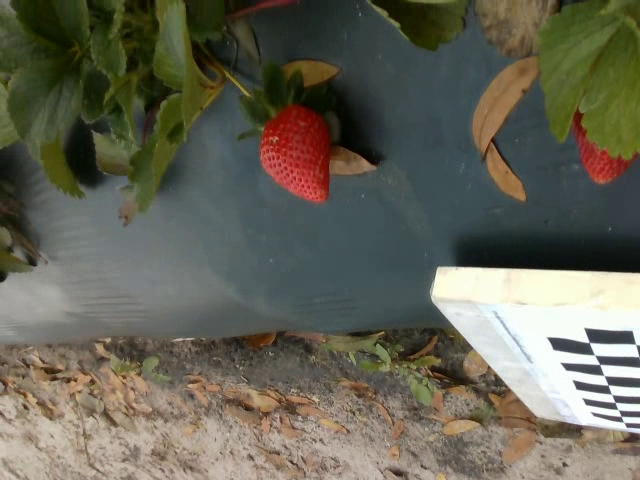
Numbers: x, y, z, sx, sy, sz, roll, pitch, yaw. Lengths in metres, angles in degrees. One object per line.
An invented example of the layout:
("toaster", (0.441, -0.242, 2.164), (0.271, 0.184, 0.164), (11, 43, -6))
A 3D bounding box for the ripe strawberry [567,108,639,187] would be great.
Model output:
("ripe strawberry", (0.126, -0.041, 0.259), (0.040, 0.042, 0.037), (4, 17, 22))

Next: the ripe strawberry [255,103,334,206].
("ripe strawberry", (-0.008, -0.042, 0.335), (0.042, 0.065, 0.047), (-33, -34, 8))
